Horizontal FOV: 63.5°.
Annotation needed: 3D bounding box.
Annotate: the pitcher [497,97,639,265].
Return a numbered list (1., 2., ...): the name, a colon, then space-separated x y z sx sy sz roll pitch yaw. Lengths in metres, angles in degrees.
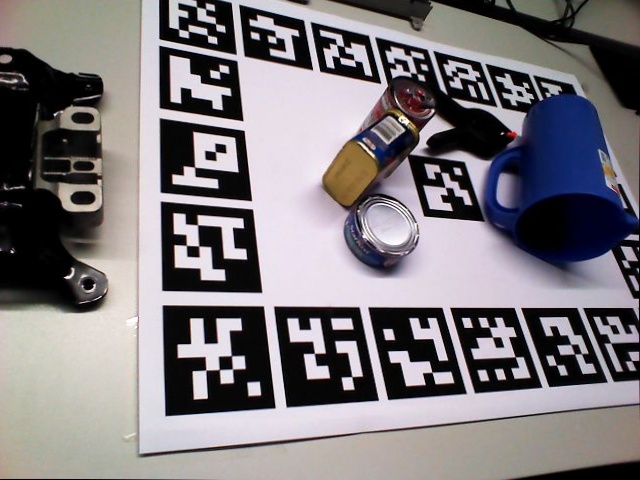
1. pitcher: 0.348 -0.096 0.739 0.189 0.134 0.241 9 49 6

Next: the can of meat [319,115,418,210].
1. can of meat: 0.055 -0.089 0.619 0.083 0.102 0.058 -37 83 -32

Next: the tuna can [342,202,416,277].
1. tuna can: 0.070 0.000 0.622 0.085 0.034 0.085 10 61 -20

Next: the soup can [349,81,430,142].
1. soup can: 0.086 -0.146 0.671 0.068 0.103 0.067 9 62 -18

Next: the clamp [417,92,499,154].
1. clamp: 0.205 -0.171 0.792 0.165 0.037 0.121 6 56 -26
